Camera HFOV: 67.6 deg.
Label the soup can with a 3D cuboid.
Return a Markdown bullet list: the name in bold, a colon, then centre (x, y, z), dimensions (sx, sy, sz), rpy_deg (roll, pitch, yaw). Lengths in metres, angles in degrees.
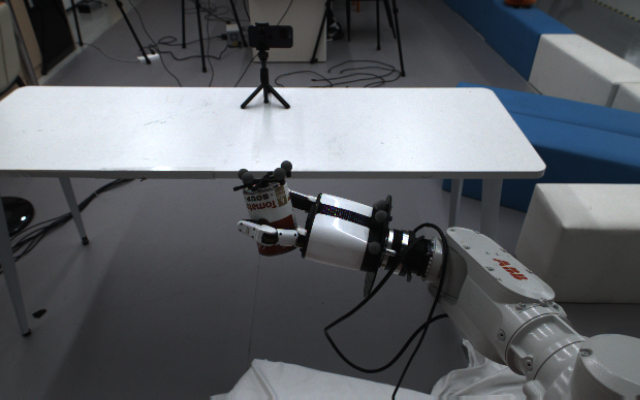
- **soup can**: centre (-0.070, 0.024, 0.723), dimensions (0.067, 0.101, 0.067), rpy_deg (-13, 17, 4)
